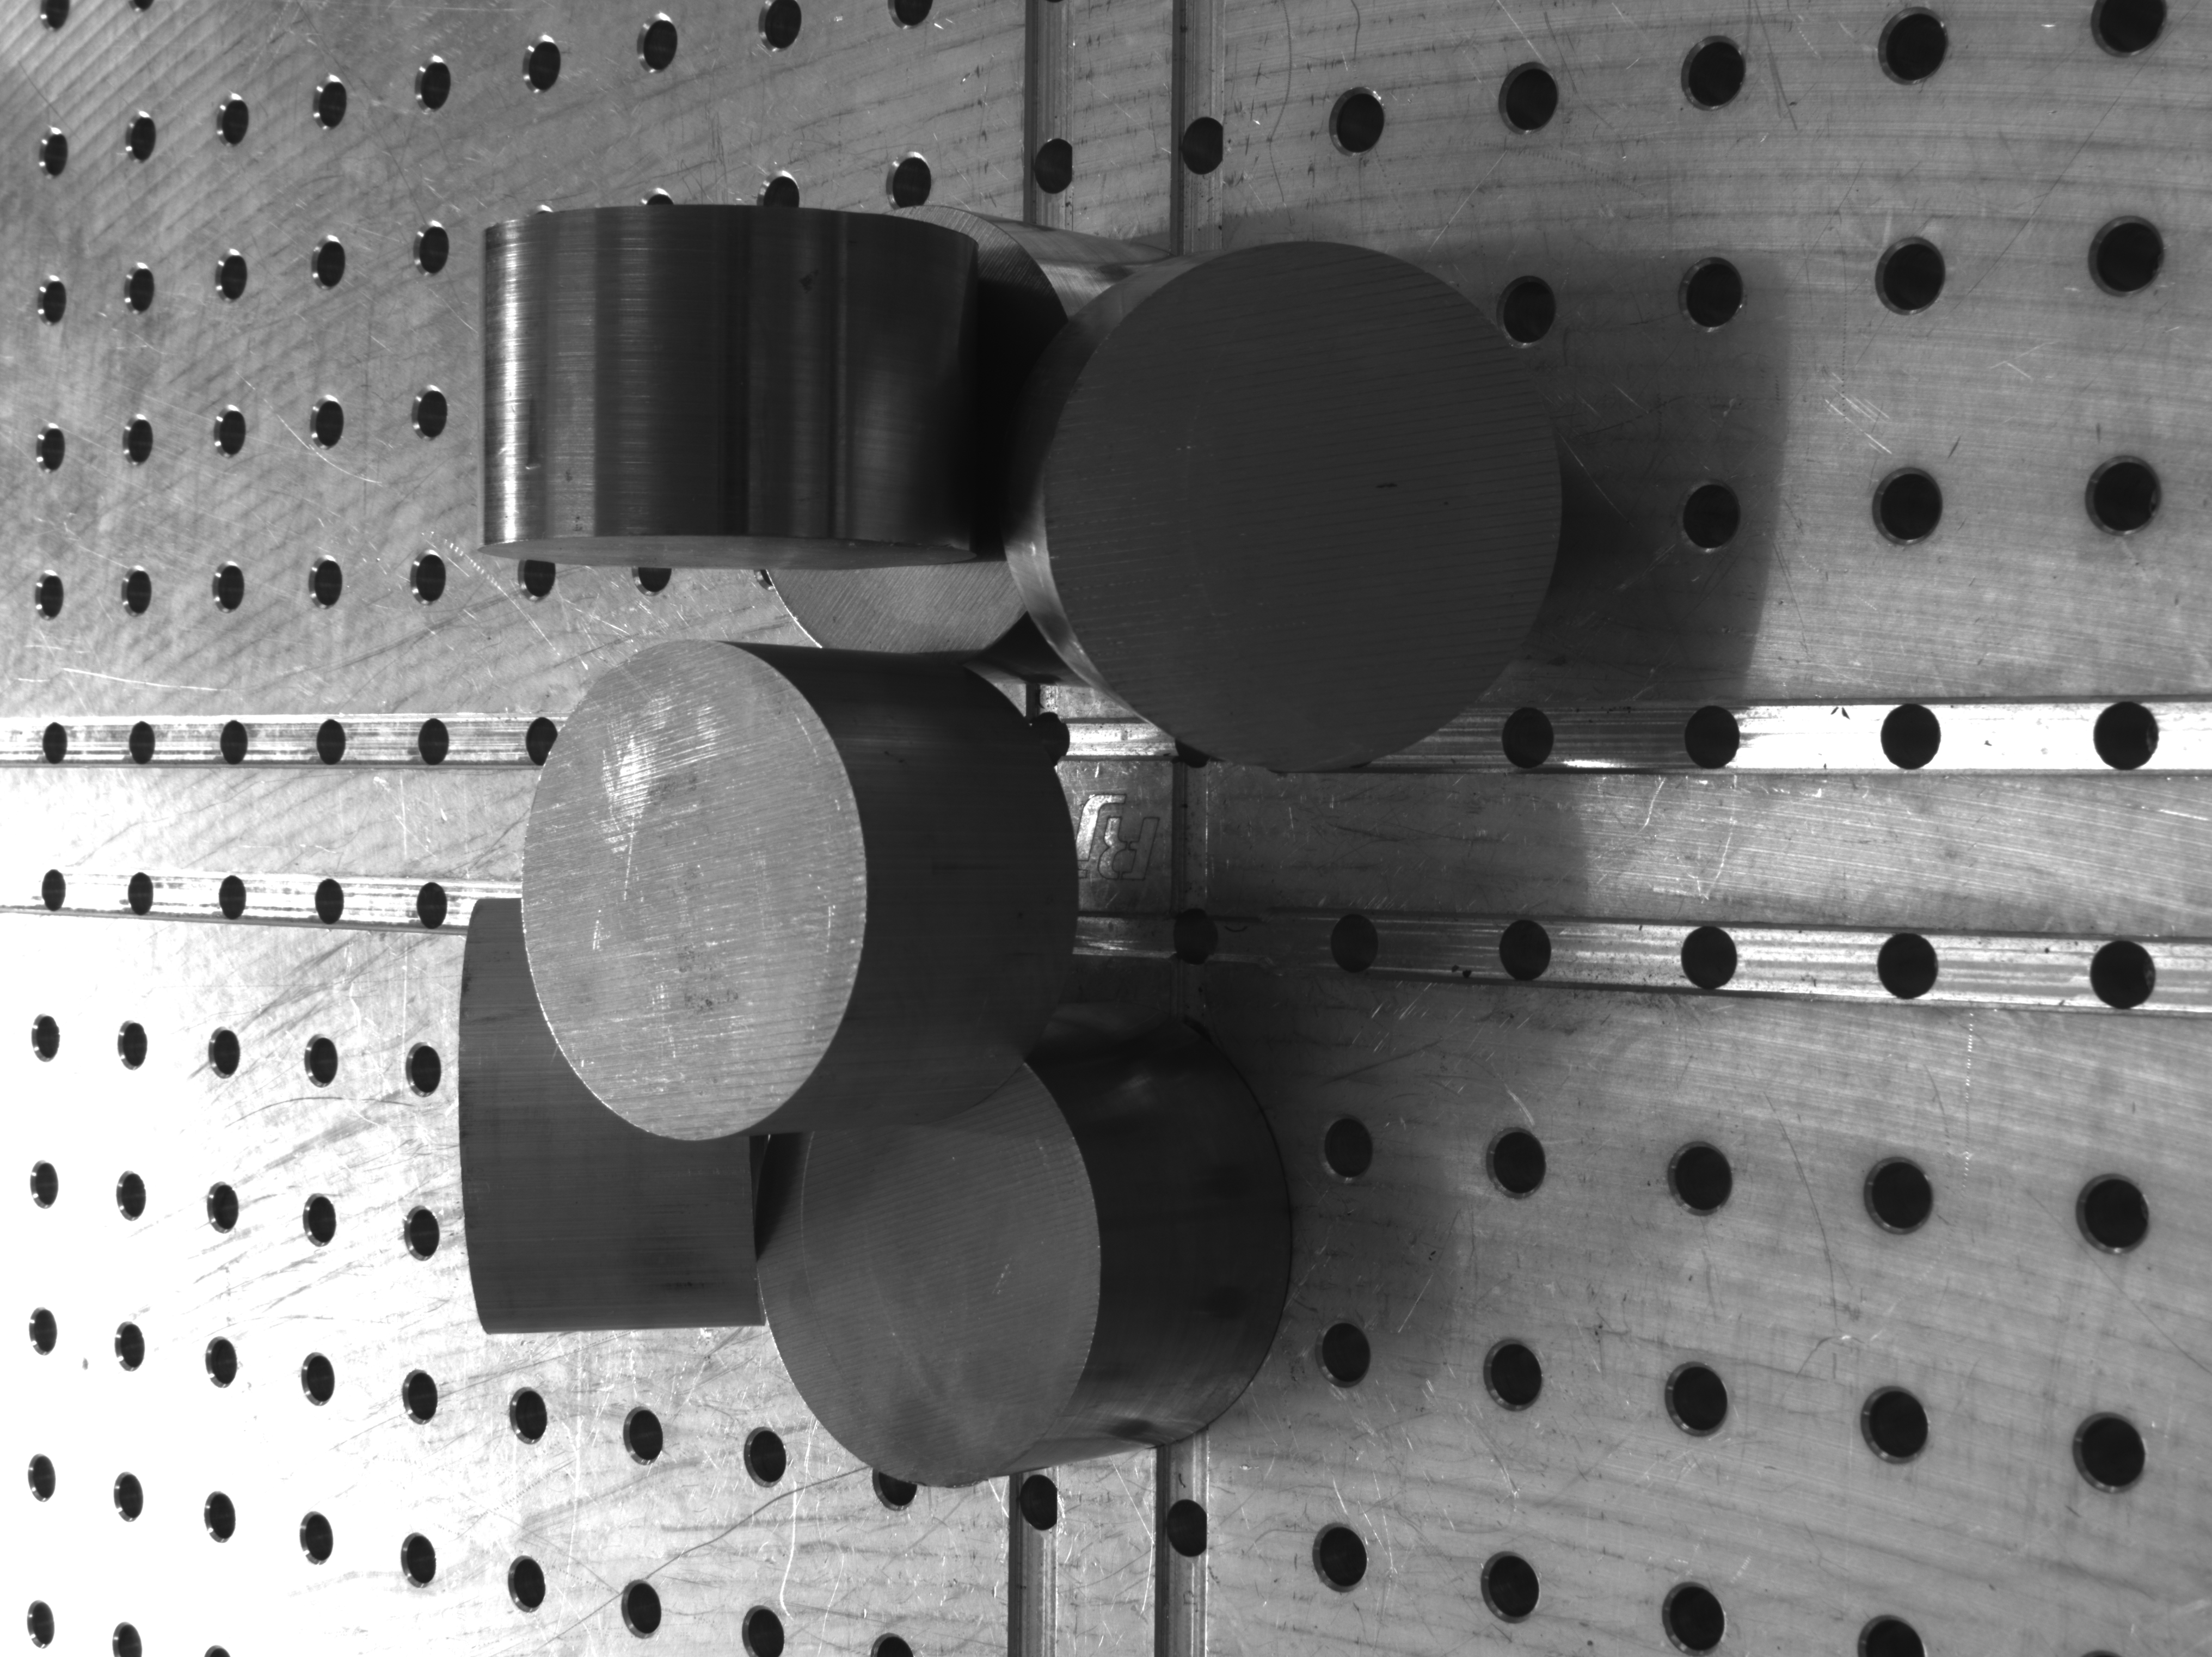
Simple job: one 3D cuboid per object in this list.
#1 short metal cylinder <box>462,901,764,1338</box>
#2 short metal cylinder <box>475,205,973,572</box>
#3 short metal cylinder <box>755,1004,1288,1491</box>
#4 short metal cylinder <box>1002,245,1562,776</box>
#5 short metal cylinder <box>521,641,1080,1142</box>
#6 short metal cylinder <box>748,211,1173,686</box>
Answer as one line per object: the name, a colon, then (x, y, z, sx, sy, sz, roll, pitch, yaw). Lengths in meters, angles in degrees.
short metal cylinder: (-0.089, 0.053, 0.680, 0.050, 0.080, 0.080, -2, 88, -4)
short metal cylinder: (-0.061, -0.069, 0.597, 0.080, 0.080, 0.050, 0, 90, 40)
short metal cylinder: (-0.015, 0.072, 0.644, 0.080, 0.050, 0.080, 1, 91, 40)
short metal cylinder: (0.026, -0.051, 0.581, 0.050, 0.080, 0.080, -138, 56, -78)
short metal cylinder: (-0.051, 0.010, 0.608, 0.080, 0.050, 0.080, 0, 90, 40)
short metal cylinder: (-0.017, -0.065, 0.646, 0.080, 0.050, 0.080, 0, 91, 40)
